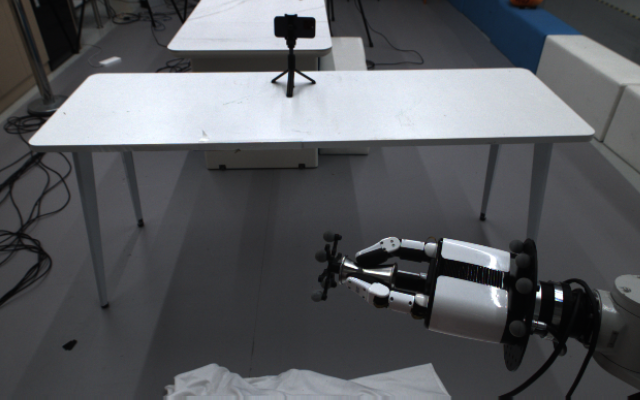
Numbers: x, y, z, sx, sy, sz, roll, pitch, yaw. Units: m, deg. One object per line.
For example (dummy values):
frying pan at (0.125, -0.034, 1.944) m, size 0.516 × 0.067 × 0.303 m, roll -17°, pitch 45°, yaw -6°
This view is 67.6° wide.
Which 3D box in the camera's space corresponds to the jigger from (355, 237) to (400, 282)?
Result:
jigger at (0.069, 0.093, 0.626) m, size 0.071 × 0.043 × 0.043 m, roll 9°, pitch 35°, yaw 17°
